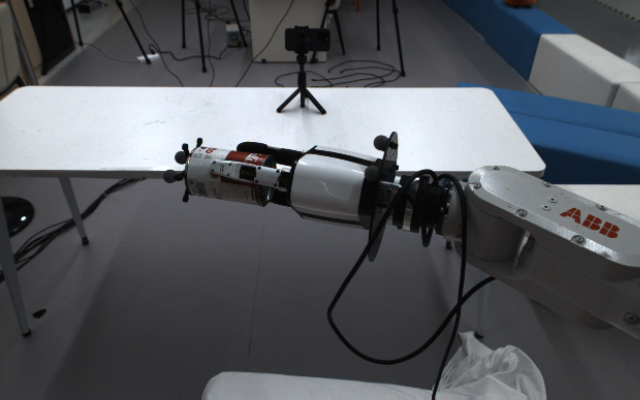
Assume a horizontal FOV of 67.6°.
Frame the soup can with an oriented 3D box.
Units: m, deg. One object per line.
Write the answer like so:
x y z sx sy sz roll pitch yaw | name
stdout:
-0.114 -0.031 0.632 0.101 0.067 0.067 8 35 11 | soup can
